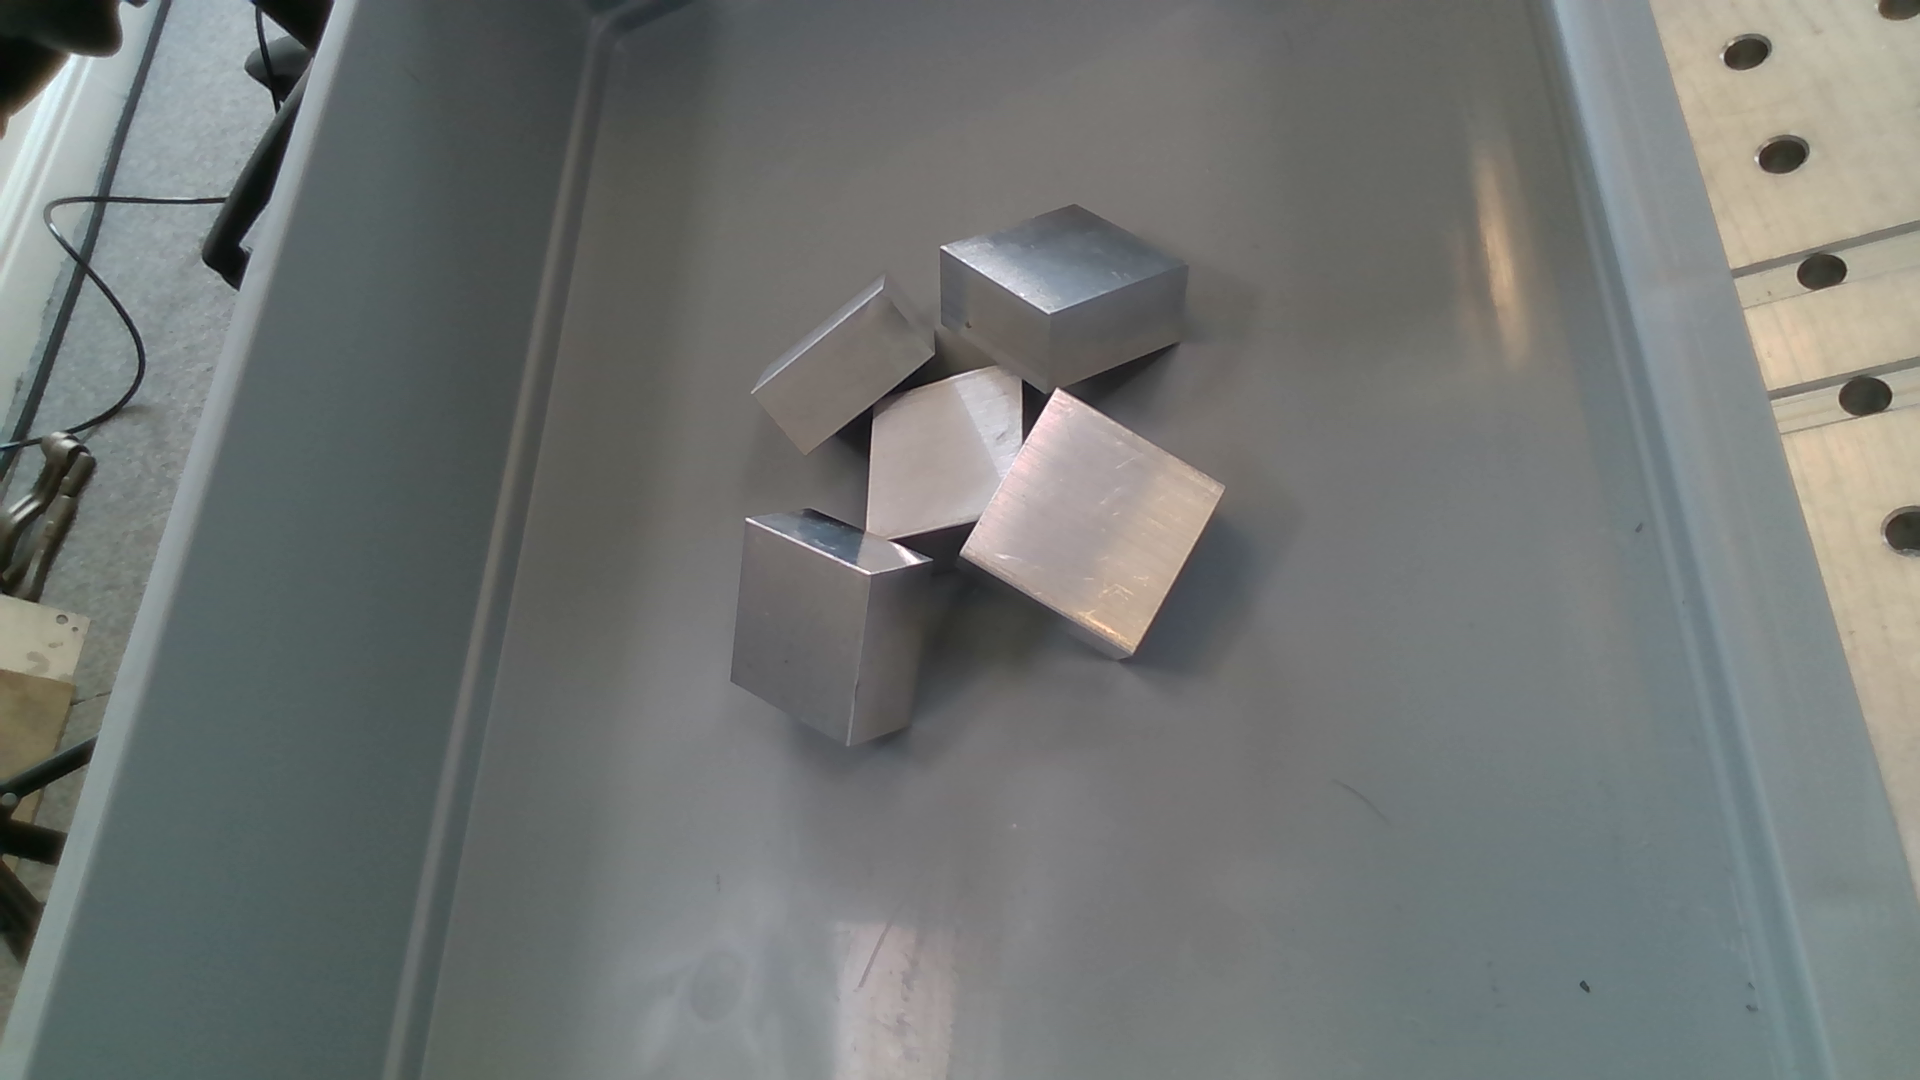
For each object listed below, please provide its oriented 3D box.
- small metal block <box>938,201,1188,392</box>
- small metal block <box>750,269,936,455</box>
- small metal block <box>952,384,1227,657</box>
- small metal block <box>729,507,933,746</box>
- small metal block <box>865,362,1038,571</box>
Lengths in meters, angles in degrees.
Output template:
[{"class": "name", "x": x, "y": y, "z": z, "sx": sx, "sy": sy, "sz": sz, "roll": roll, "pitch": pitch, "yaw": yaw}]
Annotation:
[{"class": "small metal block", "x": 0.029, "y": -0.071, "z": 0.395, "sx": 0.050, "sy": 0.025, "sz": 0.050, "roll": -24, "pitch": 43, "yaw": -28}, {"class": "small metal block", "x": -0.035, "y": -0.057, "z": 0.428, "sx": 0.050, "sy": 0.025, "sz": 0.050, "roll": -37, "pitch": 14, "yaw": 10}, {"class": "small metal block", "x": 0.033, "y": -0.004, "z": 0.357, "sx": 0.050, "sy": 0.025, "sz": 0.050, "roll": 30, "pitch": 82, "yaw": 1}, {"class": "small metal block", "x": -0.037, "y": 0.023, "z": 0.388, "sx": 0.050, "sy": 0.025, "sz": 0.050, "roll": 22, "pitch": 113, "yaw": 37}, {"class": "small metal block", "x": 0.001, "y": -0.021, "z": 0.401, "sx": 0.050, "sy": 0.025, "sz": 0.050, "roll": -13, "pitch": 59, "yaw": 26}]
